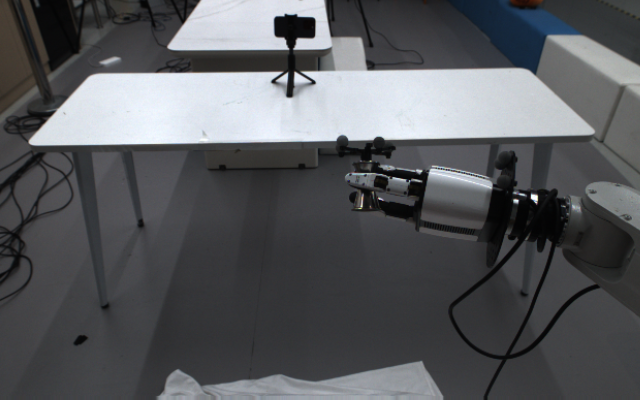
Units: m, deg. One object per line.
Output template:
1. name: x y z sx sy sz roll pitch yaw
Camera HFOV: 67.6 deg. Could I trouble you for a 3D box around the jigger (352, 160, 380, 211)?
1. jigger: 0.064 -0.020 0.687 0.043 0.071 0.043 1 -5 0
